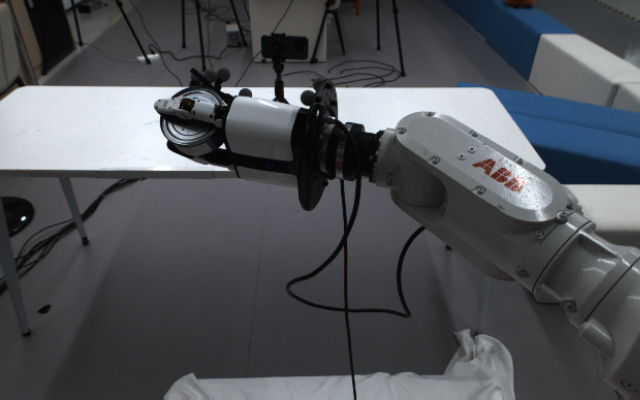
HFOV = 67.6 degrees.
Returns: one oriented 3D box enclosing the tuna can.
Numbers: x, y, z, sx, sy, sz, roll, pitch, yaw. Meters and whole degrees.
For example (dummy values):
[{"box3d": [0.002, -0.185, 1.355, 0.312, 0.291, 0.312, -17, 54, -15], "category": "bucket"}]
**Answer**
[{"box3d": [-0.158, -0.102, 0.622, 0.085, 0.034, 0.085, -4, 67, 10], "category": "tuna can"}]
